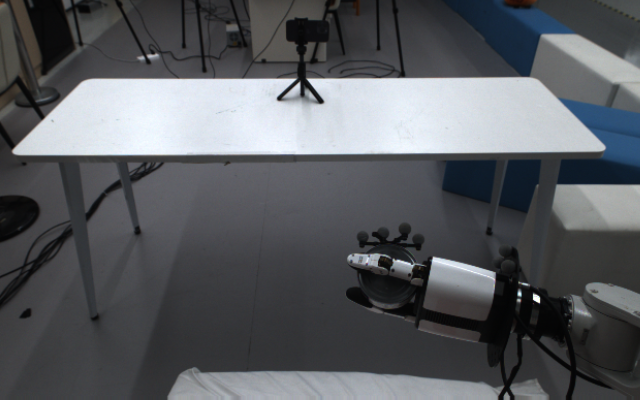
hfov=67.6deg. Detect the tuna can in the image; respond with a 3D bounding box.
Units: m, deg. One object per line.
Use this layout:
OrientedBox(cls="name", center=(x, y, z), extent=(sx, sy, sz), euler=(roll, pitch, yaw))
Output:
OrientedBox(cls="tuna can", center=(0.096, 0.106, 0.674), extent=(0.085, 0.034, 0.085), euler=(-4, 61, 7))
